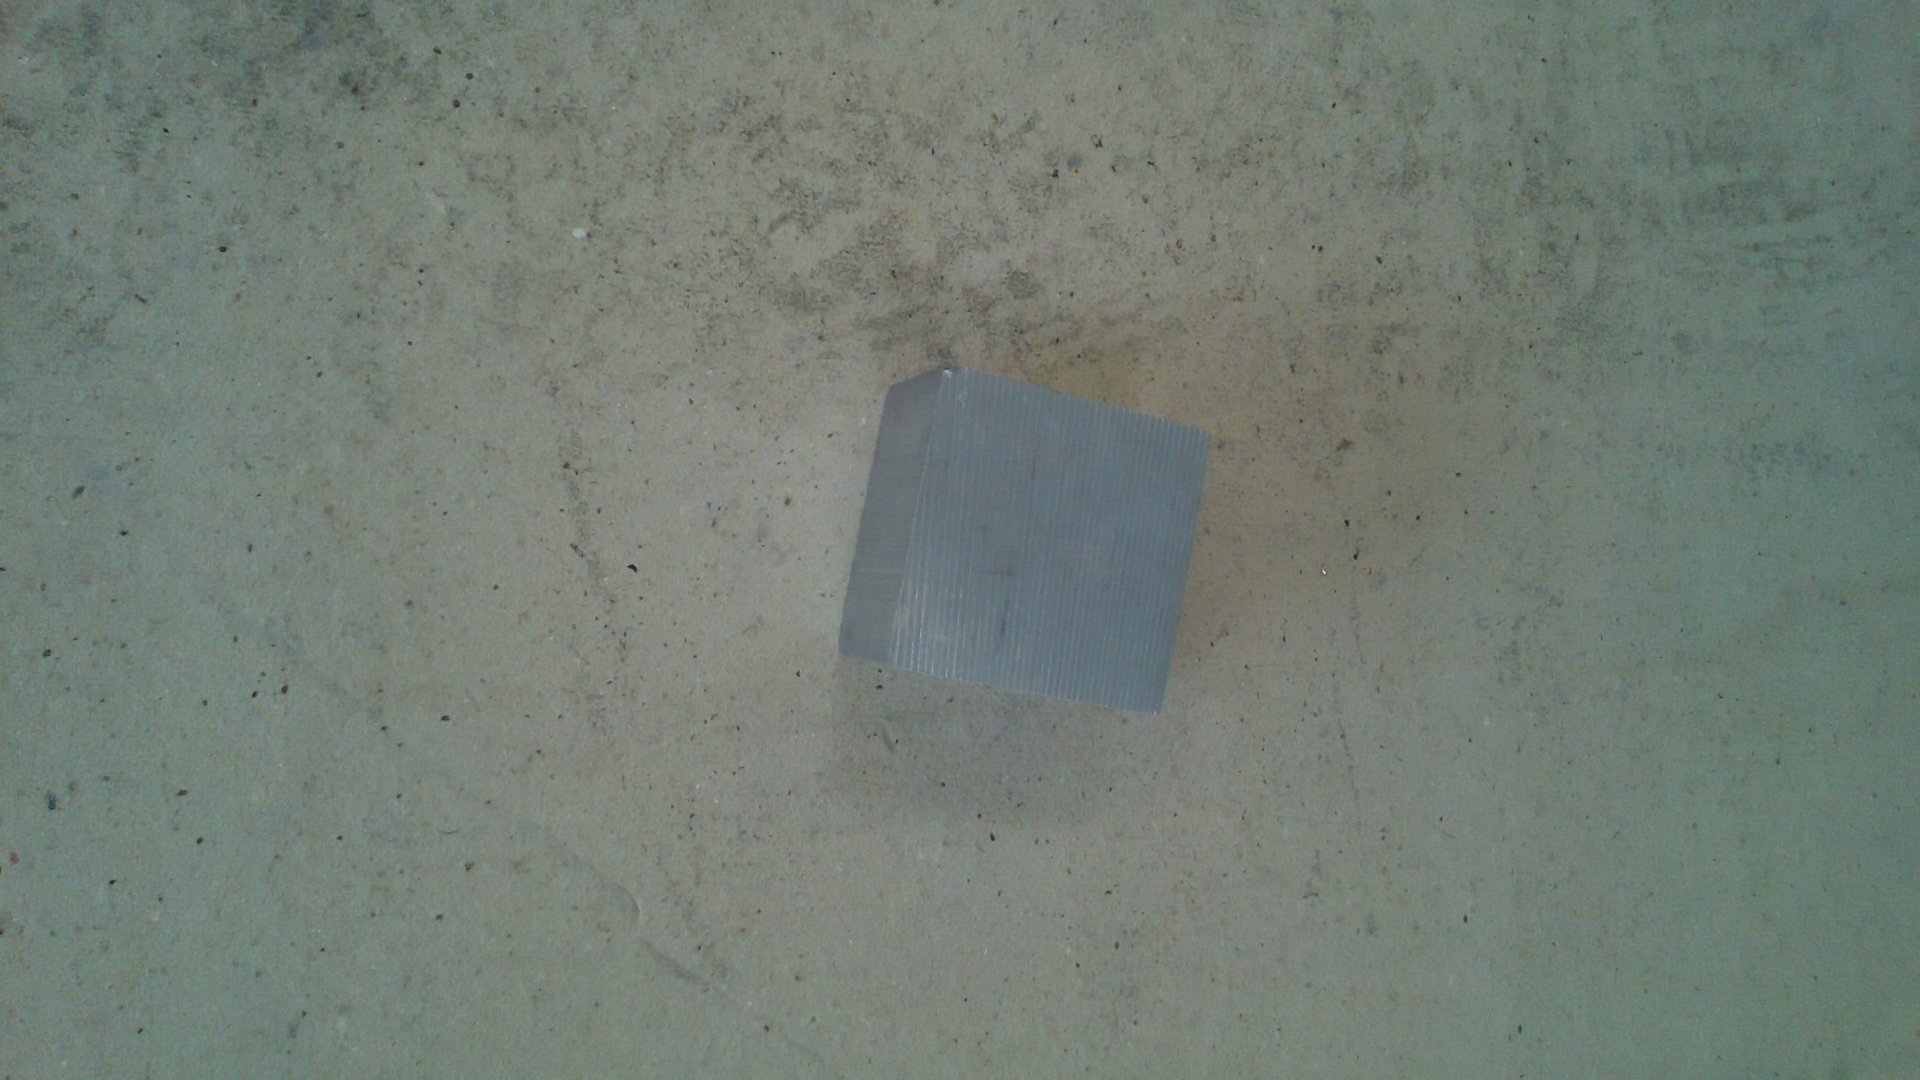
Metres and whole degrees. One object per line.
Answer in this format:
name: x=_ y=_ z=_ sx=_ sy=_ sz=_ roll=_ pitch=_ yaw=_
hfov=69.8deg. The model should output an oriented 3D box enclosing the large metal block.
large metal block: x=0.017 y=0.001 z=0.386 sx=0.080 sy=0.050 sz=0.080 roll=12 pitch=86 yaw=-21
